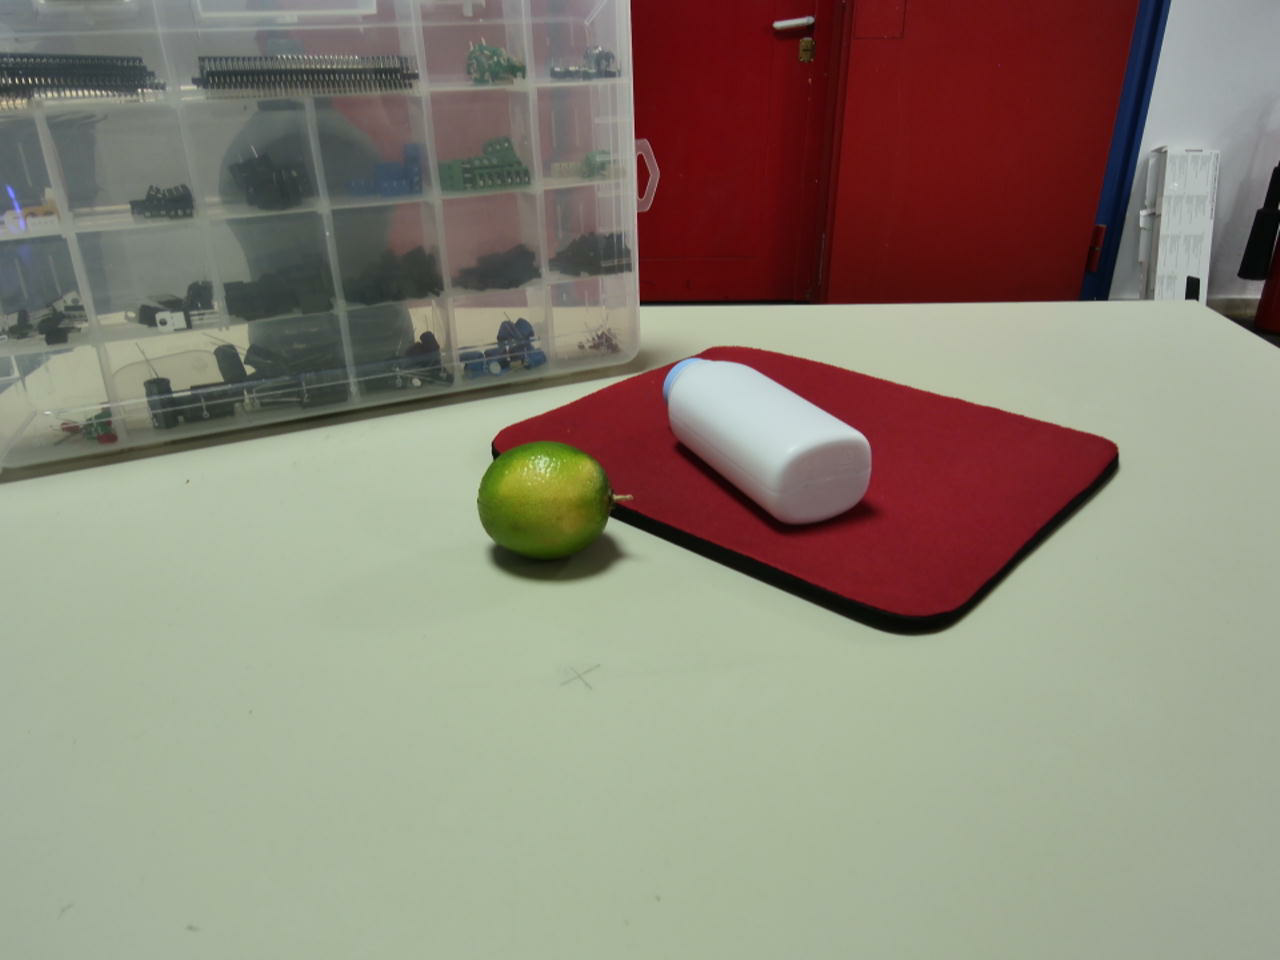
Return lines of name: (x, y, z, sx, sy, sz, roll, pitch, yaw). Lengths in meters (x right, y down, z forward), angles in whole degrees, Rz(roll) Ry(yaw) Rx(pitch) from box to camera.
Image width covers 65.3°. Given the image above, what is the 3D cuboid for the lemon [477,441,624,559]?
lemon: (-0.042, 0.008, 0.432, 0.054, 0.050, 0.055, -20, 31, -36)
